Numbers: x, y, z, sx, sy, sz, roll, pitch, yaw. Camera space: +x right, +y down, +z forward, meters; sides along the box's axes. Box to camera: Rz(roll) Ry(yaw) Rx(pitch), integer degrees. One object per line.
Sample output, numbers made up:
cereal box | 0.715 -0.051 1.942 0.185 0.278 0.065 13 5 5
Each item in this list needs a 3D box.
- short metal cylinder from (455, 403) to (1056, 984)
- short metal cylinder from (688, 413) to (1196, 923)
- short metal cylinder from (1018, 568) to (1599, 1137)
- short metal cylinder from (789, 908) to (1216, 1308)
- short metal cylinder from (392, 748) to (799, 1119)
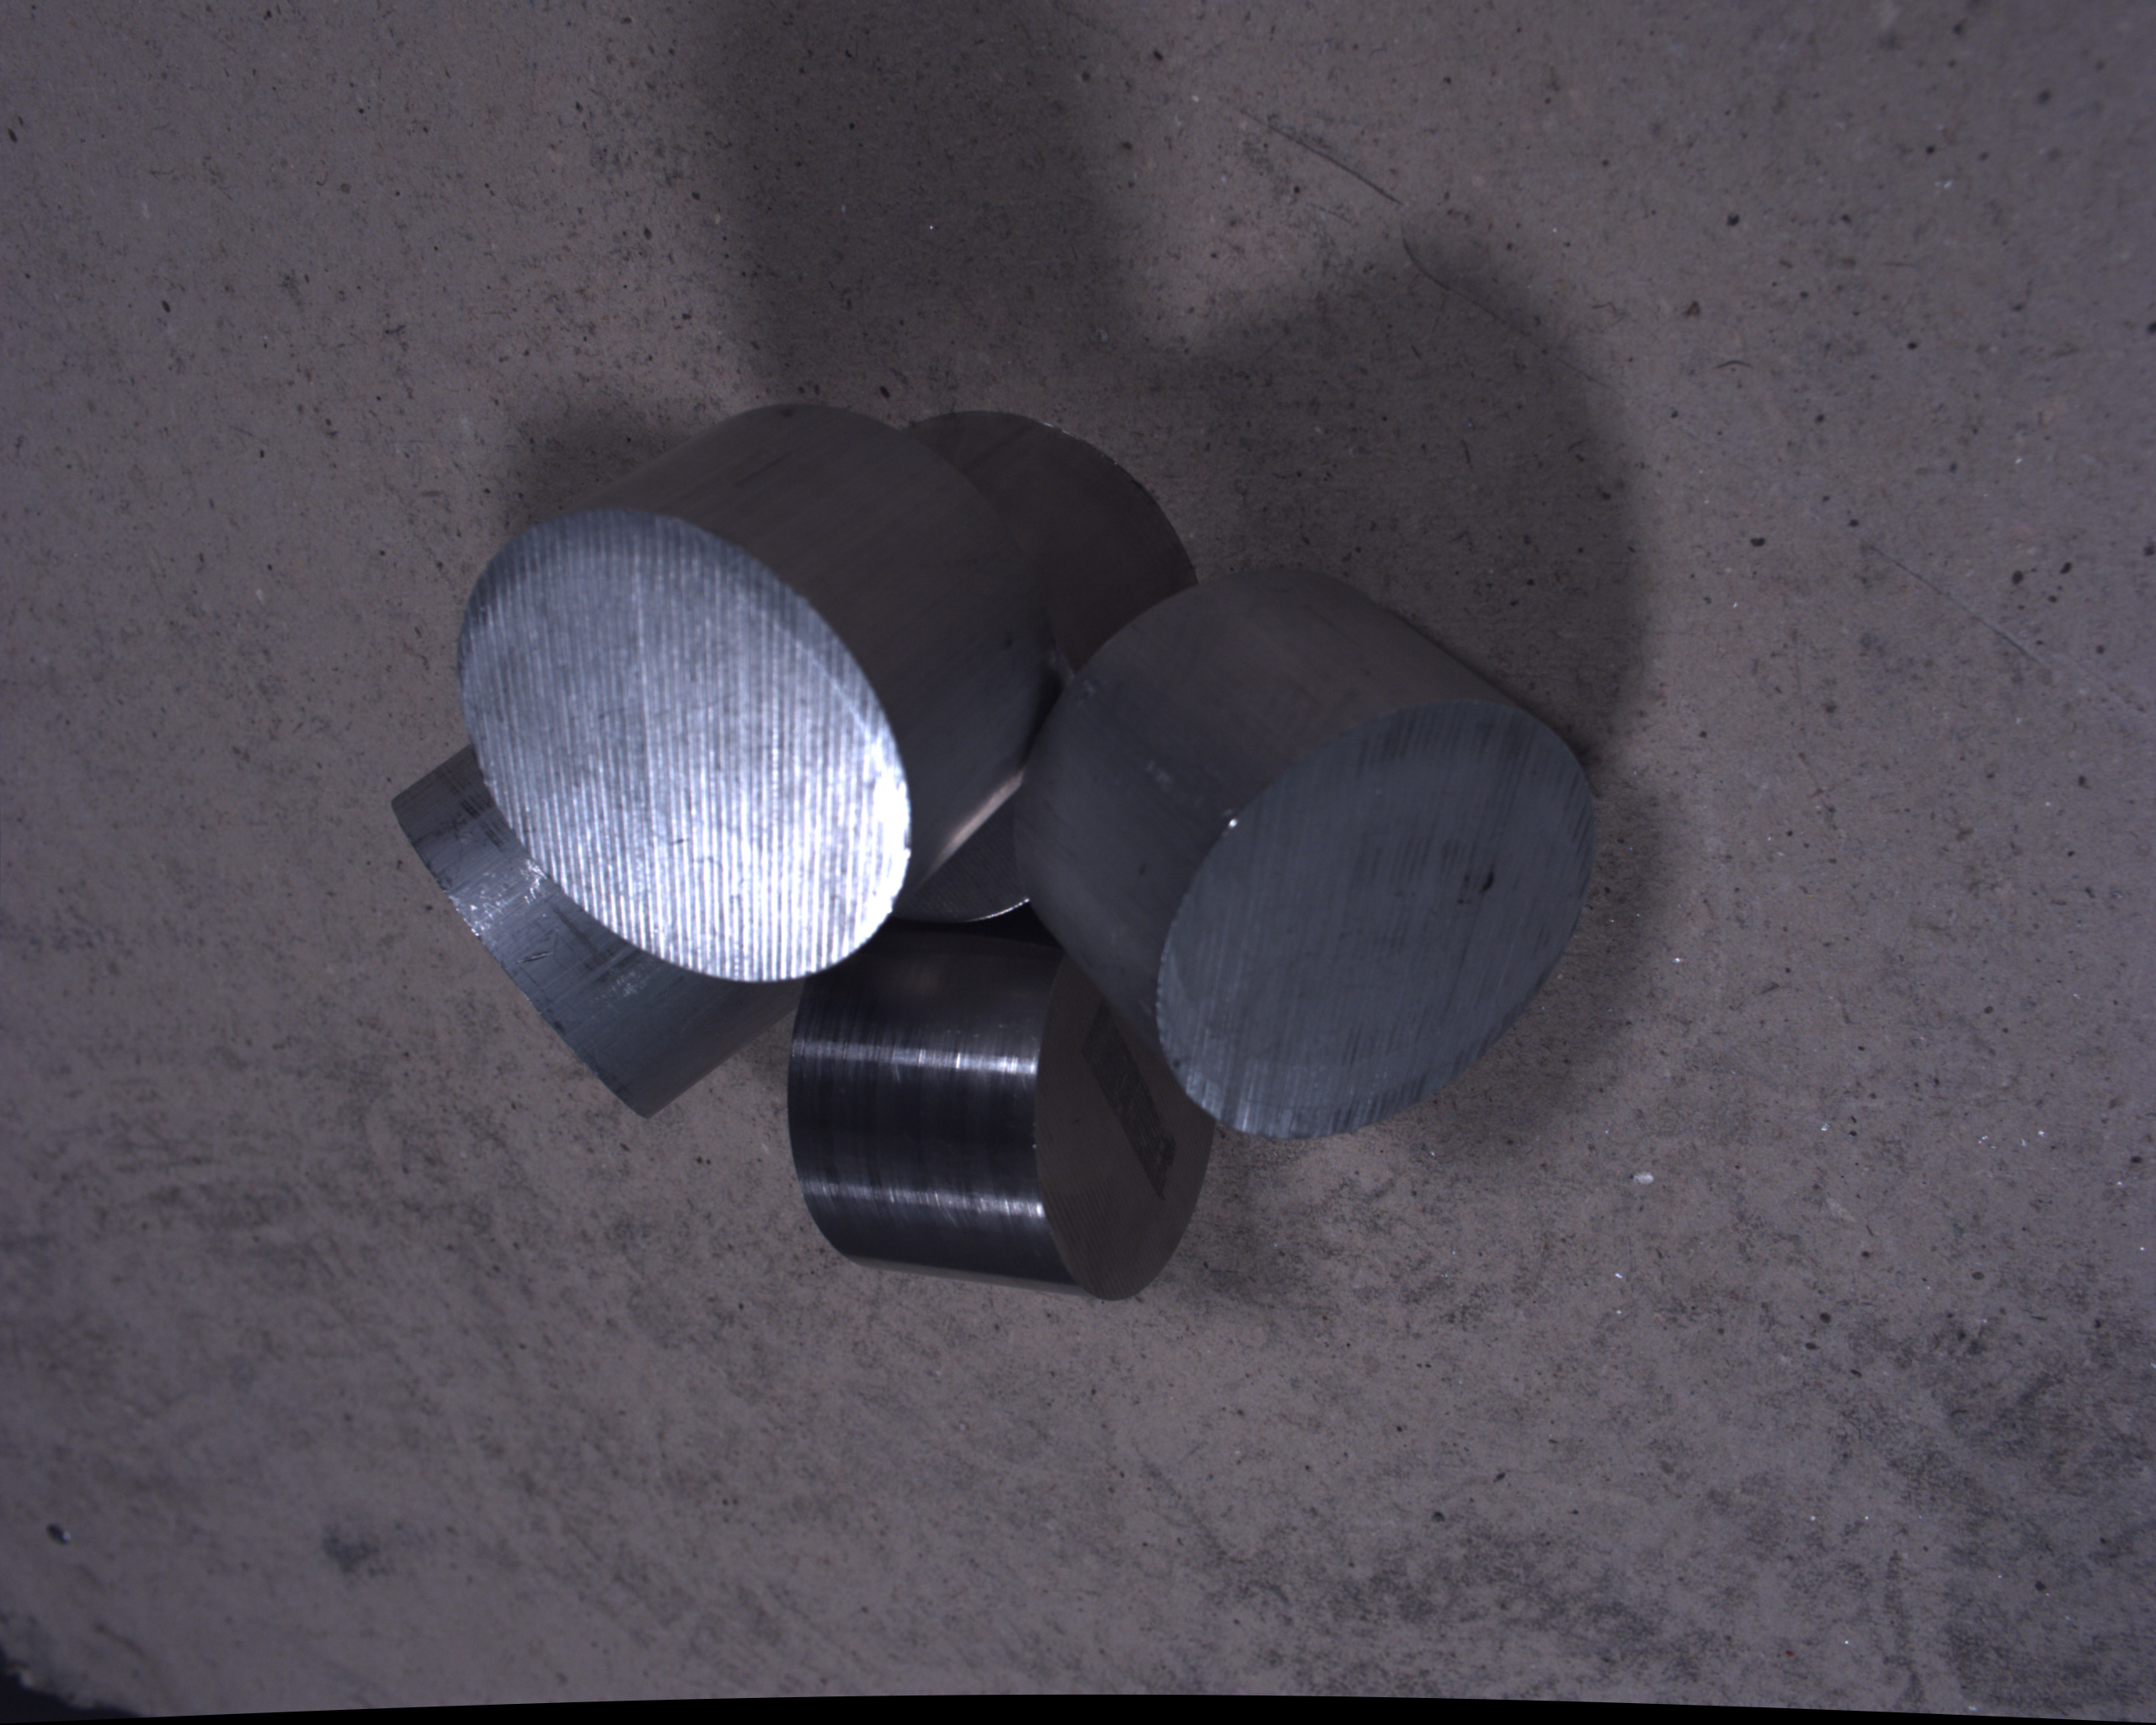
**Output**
short metal cylinder | -0.051 -0.027 0.335 0.080 0.050 0.079 13 124 20
short metal cylinder | -0.023 -0.036 0.381 0.080 0.050 0.079 13 124 20
short metal cylinder | 0.037 -0.002 0.343 0.050 0.081 0.079 46 143 49
short metal cylinder | -0.012 0.043 0.403 0.050 0.080 0.079 2 119 27
short metal cylinder | -0.089 0.004 0.414 0.080 0.050 0.080 51 172 11
